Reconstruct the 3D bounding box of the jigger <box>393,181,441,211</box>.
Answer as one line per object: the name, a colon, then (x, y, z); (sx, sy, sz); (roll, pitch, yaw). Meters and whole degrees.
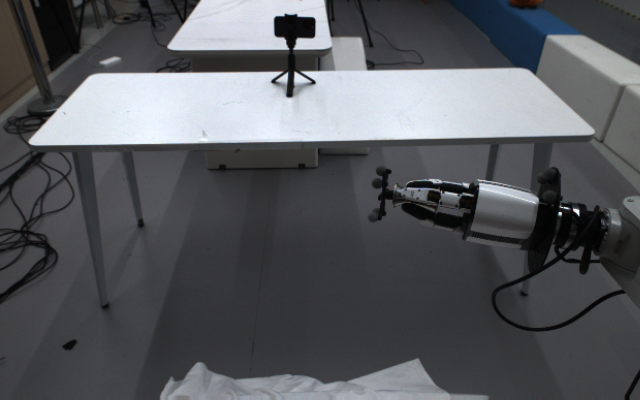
jigger: (0.156, -0.007, 0.755); (0.071, 0.043, 0.043); (7, 35, 14)
